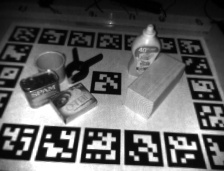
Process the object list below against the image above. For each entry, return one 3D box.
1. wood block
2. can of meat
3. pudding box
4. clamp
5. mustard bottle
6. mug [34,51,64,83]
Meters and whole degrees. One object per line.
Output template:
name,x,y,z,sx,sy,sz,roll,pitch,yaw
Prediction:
wood block,0.134,-0.008,0.690,0.089,0.091,0.207,33,54,22
can of meat,-0.216,0.002,0.640,0.102,0.084,0.057,-22,57,-21
pudding box,-0.120,0.042,0.653,0.115,0.039,0.089,-29,60,-27
clamp,-0.118,-0.086,0.763,0.121,0.037,0.165,20,54,8
mustard bottle,0.100,-0.126,0.709,0.096,0.192,0.058,-1,52,-4
mug,-0.201,-0.063,0.730,0.093,0.082,0.117,21,54,12
